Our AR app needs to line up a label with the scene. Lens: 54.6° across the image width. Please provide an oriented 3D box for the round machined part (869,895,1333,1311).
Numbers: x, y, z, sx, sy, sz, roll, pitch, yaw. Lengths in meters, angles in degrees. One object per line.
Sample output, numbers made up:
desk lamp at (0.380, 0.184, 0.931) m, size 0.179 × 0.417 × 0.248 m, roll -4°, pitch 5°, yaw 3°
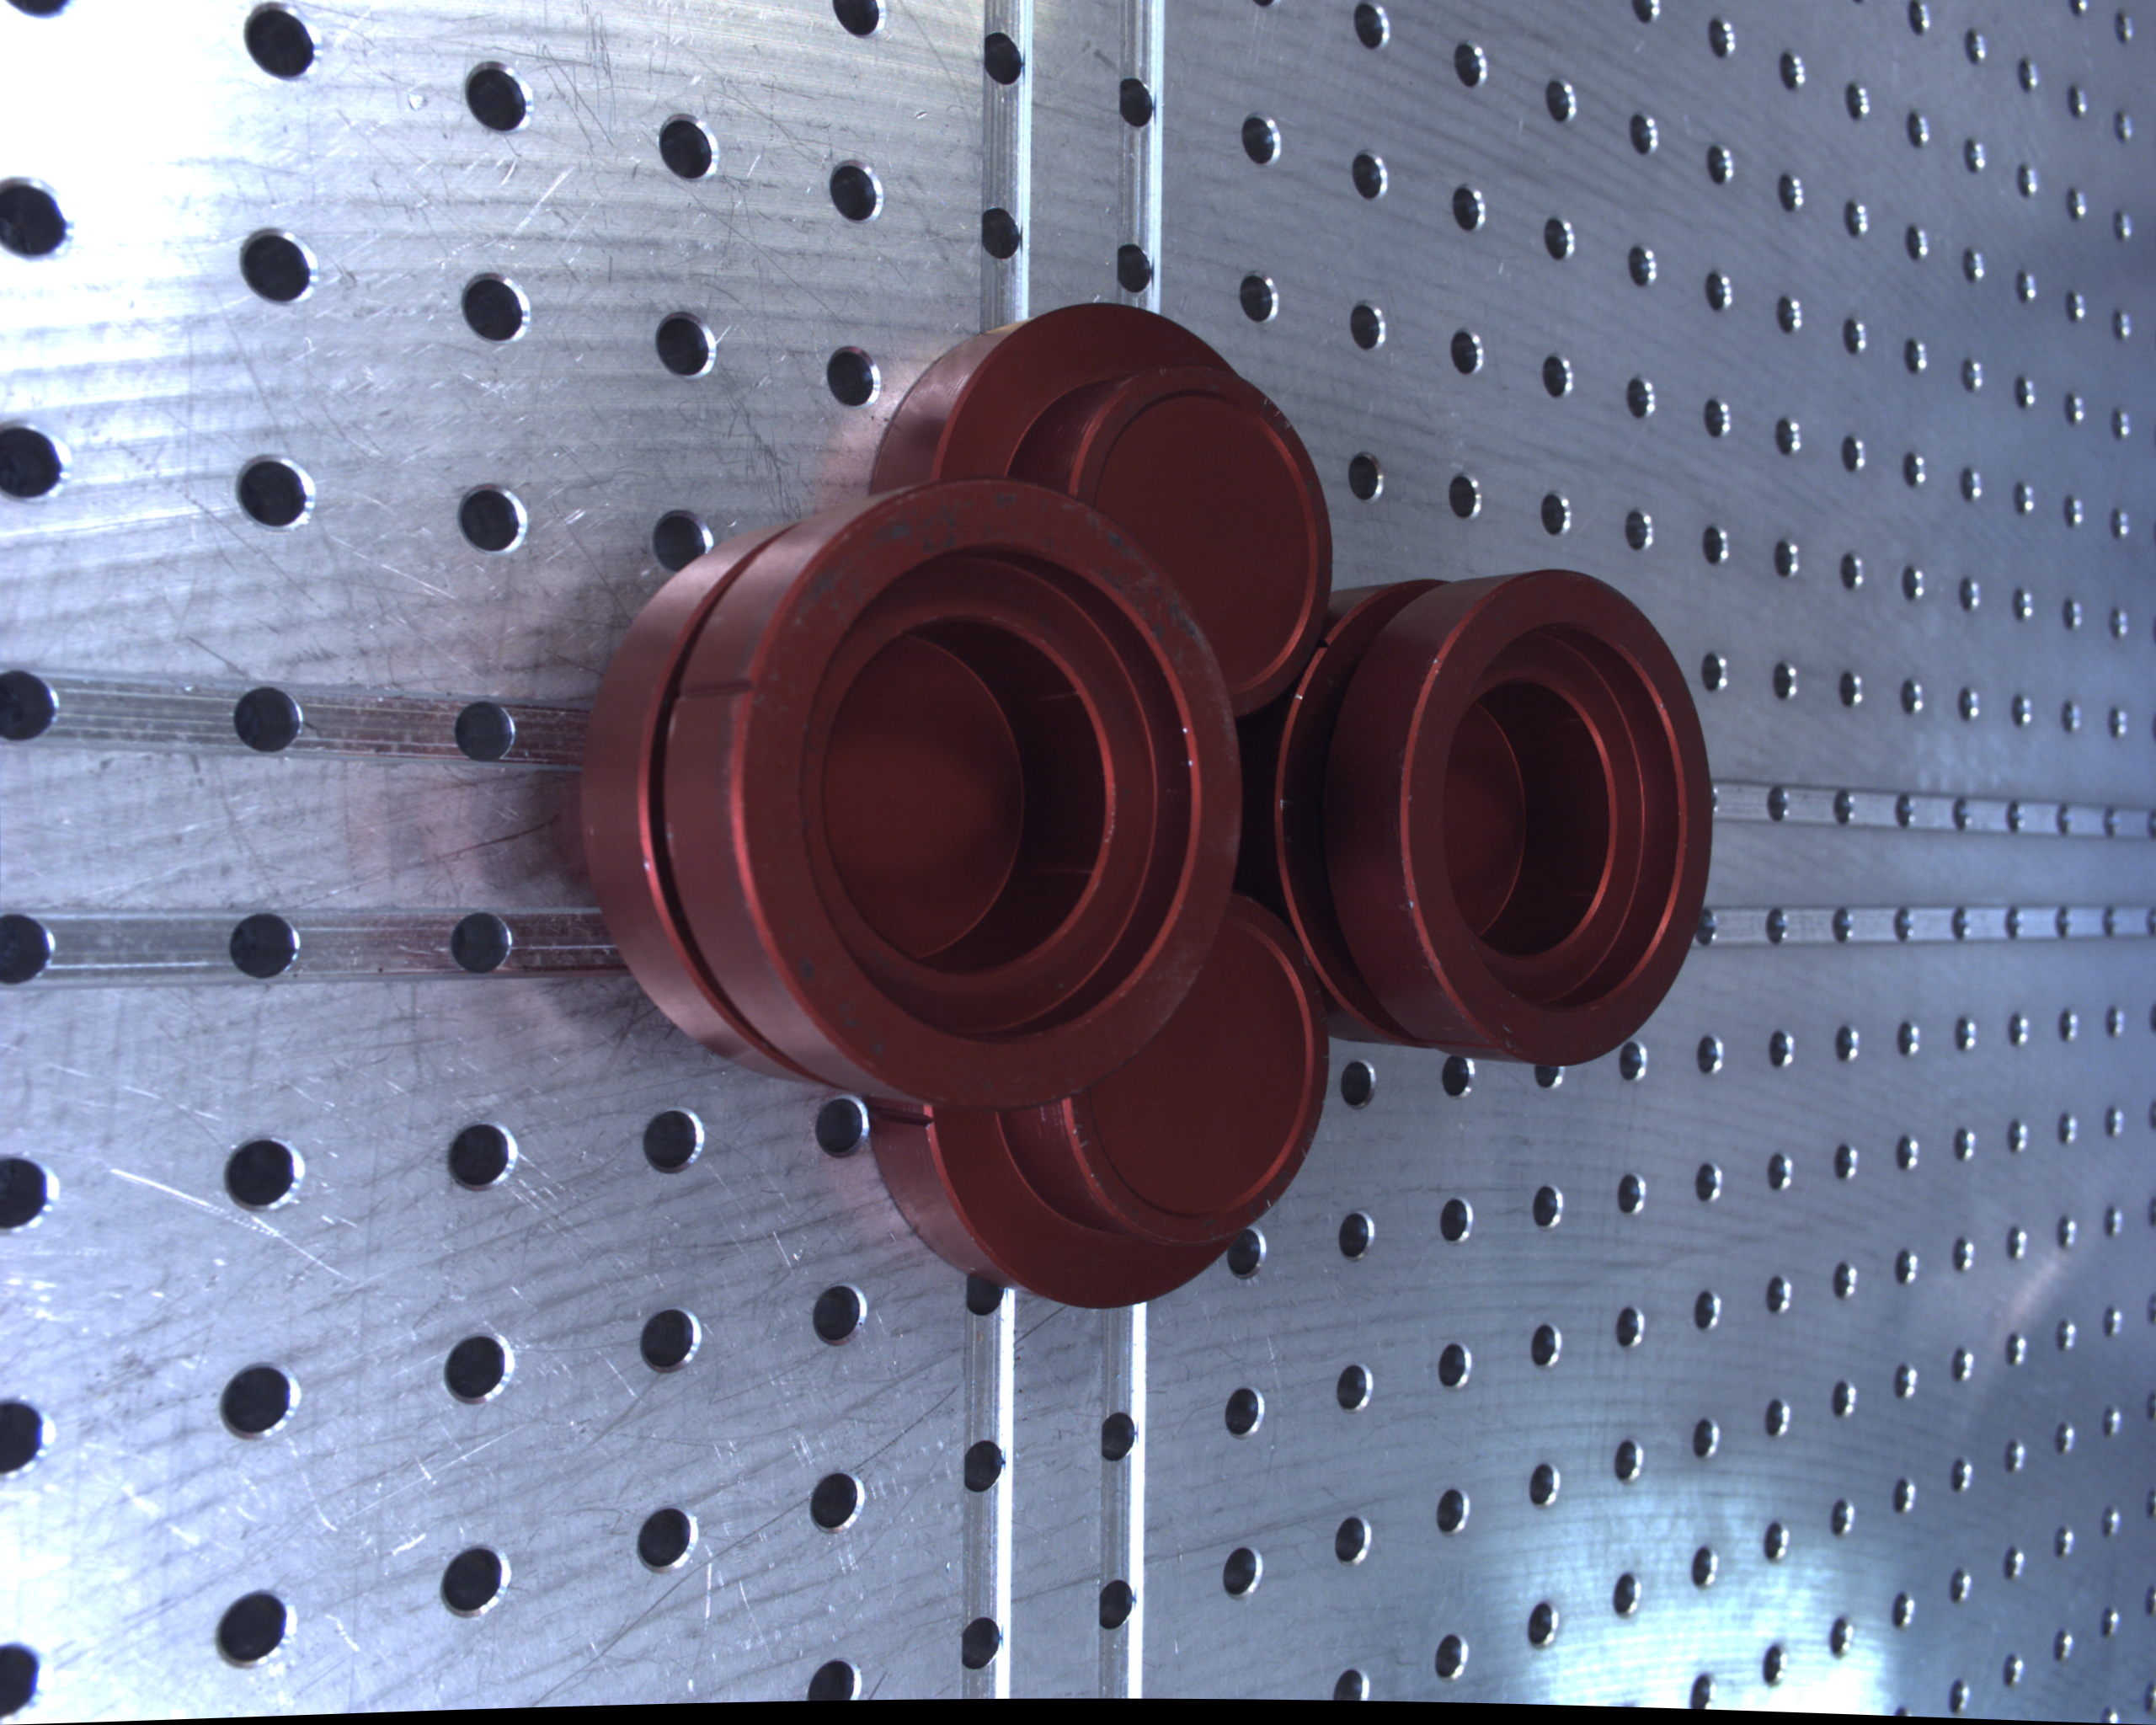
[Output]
round machined part at (0.011, 0.038, 0.405) m, size 0.099 × 0.042 × 0.097 m, roll 0°, pitch 90°, yaw -40°

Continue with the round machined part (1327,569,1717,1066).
round machined part at (0.084, -0.009, 0.425) m, size 0.099 × 0.042 × 0.097 m, roll 0°, pitch 90°, yaw -40°

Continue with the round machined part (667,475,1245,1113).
round machined part at (-0.023, -0.011, 0.336) m, size 0.099 × 0.042 × 0.097 m, roll 0°, pitch 90°, yaw -40°

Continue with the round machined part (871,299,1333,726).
round machined part at (0.011, -0.060, 0.406) m, size 0.099 × 0.042 × 0.097 m, roll 0°, pitch 90°, yaw -40°

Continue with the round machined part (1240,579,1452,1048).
round machined part at (0.064, -0.010, 0.449) m, size 0.099 × 0.042 × 0.097 m, roll 0°, pitch 90°, yaw -40°

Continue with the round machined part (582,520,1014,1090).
round machined part at (-0.041, -0.010, 0.362) m, size 0.099 × 0.042 × 0.097 m, roll 0°, pitch 90°, yaw -40°
